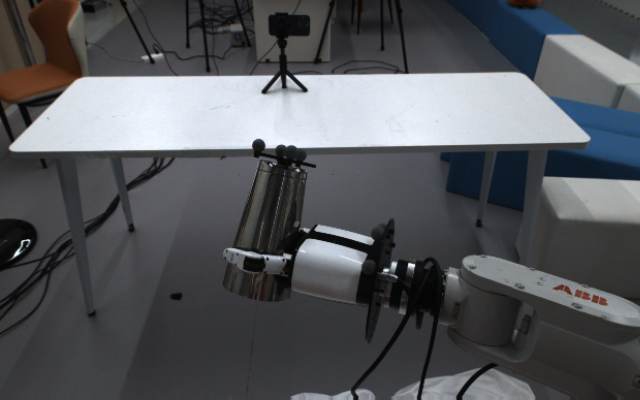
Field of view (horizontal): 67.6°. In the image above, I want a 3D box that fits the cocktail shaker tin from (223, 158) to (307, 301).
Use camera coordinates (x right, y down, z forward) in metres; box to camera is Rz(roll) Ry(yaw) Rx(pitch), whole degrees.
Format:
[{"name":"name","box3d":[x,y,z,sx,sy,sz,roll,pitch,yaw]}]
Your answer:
[{"name":"cocktail shaker tin","box3d":[-0.066,0.038,0.642,0.093,0.170,0.093,13,4,-1]}]
